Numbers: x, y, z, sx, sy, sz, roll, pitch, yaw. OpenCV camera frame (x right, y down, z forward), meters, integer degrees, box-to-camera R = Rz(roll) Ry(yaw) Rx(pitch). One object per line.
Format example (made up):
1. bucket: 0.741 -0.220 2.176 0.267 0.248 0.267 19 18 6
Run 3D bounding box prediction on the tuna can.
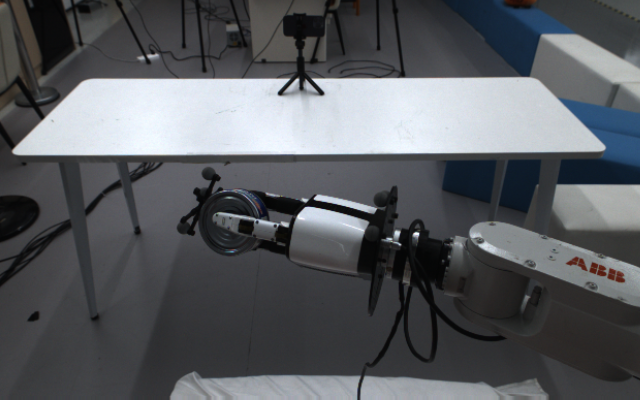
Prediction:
1. tuna can: -0.107 0.032 0.618 0.085 0.085 0.034 9 5 10
